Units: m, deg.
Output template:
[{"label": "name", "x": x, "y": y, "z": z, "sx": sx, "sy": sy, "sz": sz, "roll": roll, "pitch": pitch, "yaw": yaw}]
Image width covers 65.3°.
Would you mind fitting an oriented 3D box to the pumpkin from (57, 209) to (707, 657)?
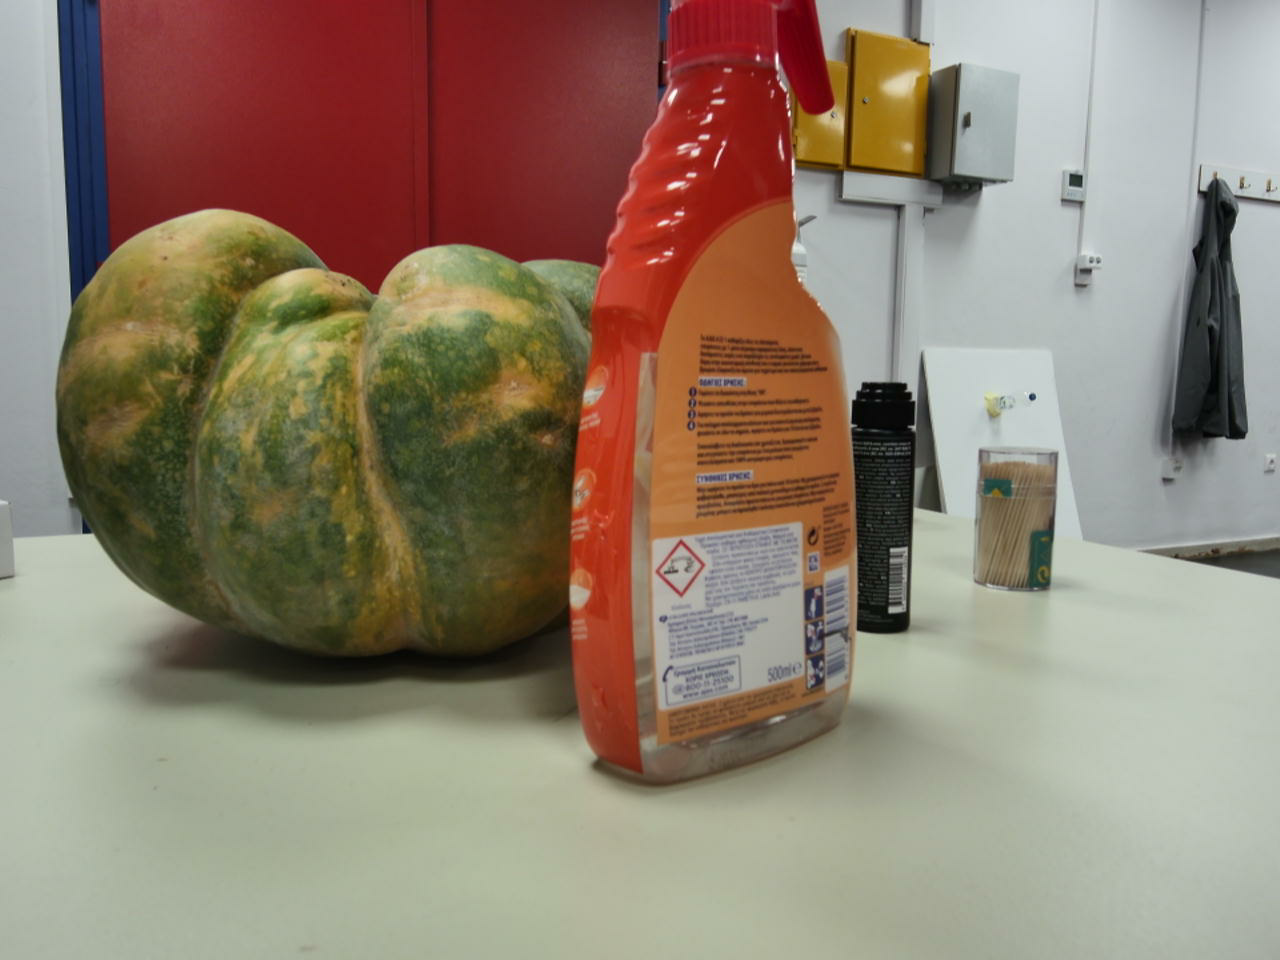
[{"label": "pumpkin", "x": -0.105, "y": -0.018, "z": 0.432, "sx": 0.270, "sy": 0.173, "sz": 0.237, "roll": 1, "pitch": 4, "yaw": 11}]
